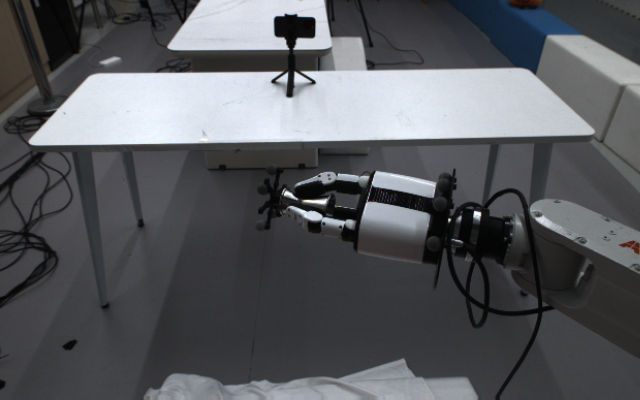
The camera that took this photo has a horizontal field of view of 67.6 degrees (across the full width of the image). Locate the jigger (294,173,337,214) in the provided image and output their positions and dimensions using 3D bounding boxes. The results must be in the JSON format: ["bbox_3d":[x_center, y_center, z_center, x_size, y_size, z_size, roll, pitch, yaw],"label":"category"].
[{"bbox_3d":[-0.011,0.004,0.667,0.071,0.043,0.043,11,36,15],"label":"jigger"}]
